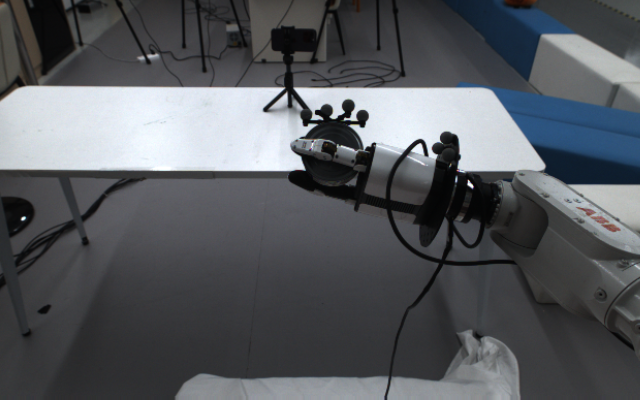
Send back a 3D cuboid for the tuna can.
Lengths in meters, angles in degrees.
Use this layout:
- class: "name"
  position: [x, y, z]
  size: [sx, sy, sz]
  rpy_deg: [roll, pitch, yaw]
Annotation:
- class: "tuna can"
  position: [0.017, -0.063, 0.672]
  size: [0.085, 0.034, 0.085]
  rpy_deg: [-1, 76, 4]
